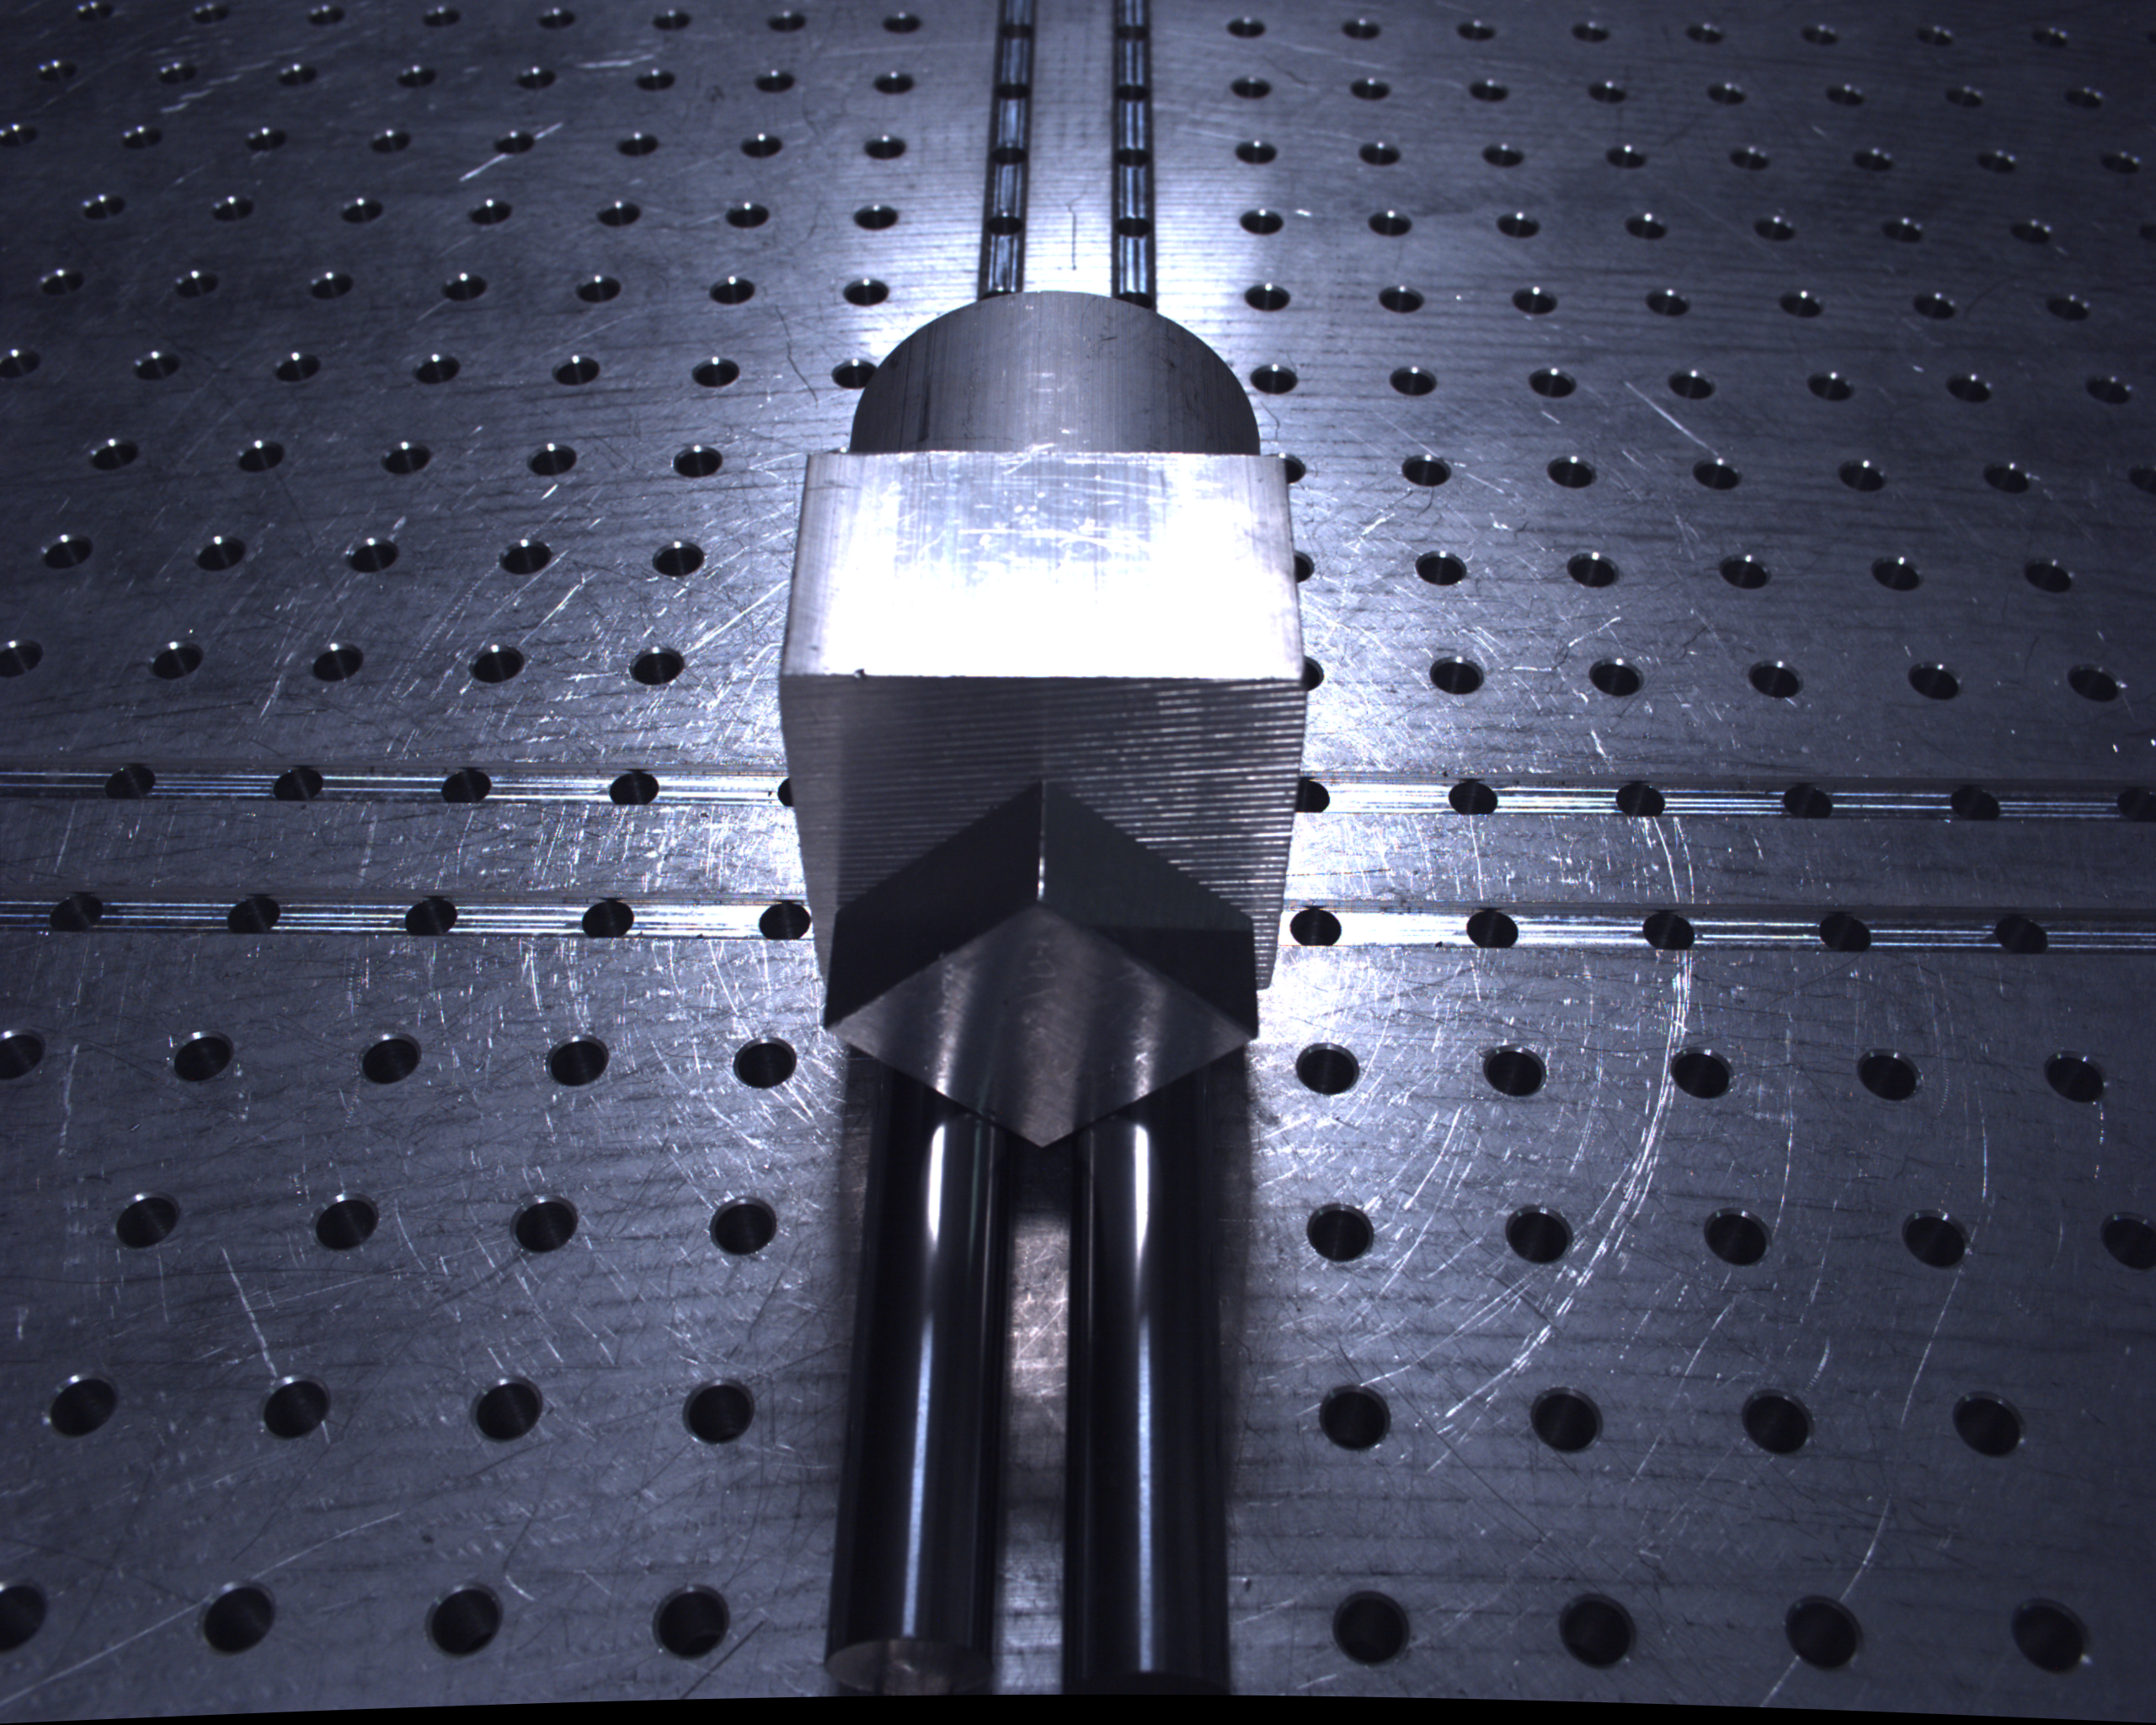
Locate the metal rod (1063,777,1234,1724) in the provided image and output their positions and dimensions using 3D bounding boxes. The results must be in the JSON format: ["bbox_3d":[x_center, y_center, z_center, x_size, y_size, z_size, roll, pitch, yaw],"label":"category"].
[{"bbox_3d":[0.012,0.008,0.403,0.025,0.025,0.300,1,50,0],"label":"metal rod"}]

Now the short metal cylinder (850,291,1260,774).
[{"bbox_3d":[-0.005,-0.060,0.394,0.081,0.080,0.050,1,50,0],"label":"short metal cylinder"}]

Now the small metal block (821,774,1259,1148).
[{"bbox_3d":[-0.006,0.018,0.346,0.050,0.050,0.025,33,41,-33],"label":"small metal block"}]

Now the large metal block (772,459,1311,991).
[{"bbox_3d":[-0.005,-0.022,0.358,0.081,0.080,0.050,0,50,0],"label":"large metal block"}]

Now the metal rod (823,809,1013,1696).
[{"bbox_3d":[-0.023,0.005,0.405,0.025,0.025,0.300,1,50,0],"label":"metal rod"}]
